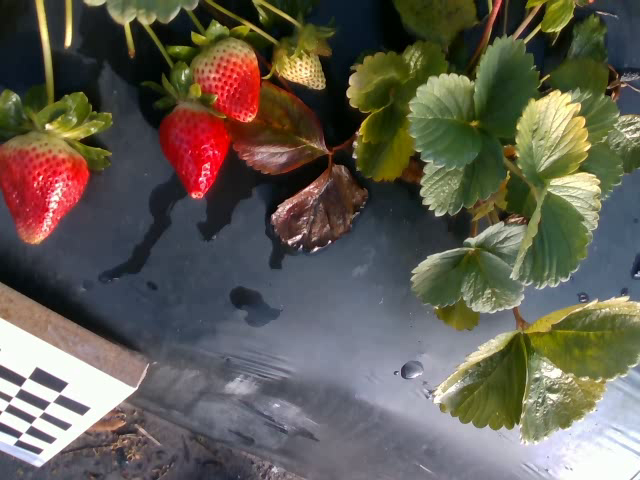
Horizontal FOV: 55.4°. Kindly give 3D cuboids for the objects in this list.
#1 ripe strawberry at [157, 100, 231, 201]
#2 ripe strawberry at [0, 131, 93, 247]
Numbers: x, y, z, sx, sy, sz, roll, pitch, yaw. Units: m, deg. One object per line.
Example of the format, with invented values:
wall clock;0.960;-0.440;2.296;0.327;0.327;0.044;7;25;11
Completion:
ripe strawberry;-0.072;-0.047;0.337;0.044;0.055;0.041;-10;-10;31
ripe strawberry;-0.155;-0.028;0.330;0.050;0.065;0.049;9;-8;15
